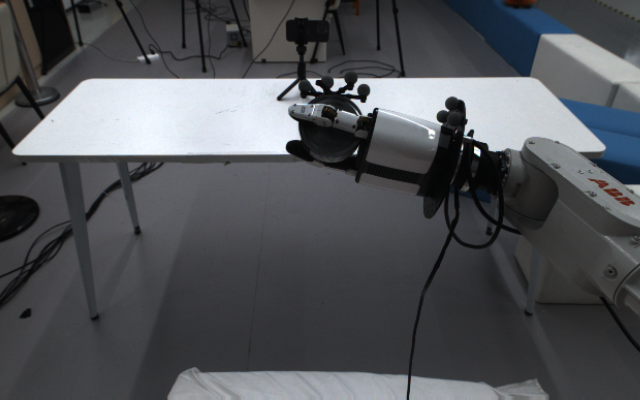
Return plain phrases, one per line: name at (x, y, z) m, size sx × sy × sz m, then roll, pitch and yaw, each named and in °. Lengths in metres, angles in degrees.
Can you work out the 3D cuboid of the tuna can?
tuna can at (0.016, -0.095, 0.640) m, size 0.085 × 0.034 × 0.085 m, roll 0°, pitch 75°, yaw 0°
